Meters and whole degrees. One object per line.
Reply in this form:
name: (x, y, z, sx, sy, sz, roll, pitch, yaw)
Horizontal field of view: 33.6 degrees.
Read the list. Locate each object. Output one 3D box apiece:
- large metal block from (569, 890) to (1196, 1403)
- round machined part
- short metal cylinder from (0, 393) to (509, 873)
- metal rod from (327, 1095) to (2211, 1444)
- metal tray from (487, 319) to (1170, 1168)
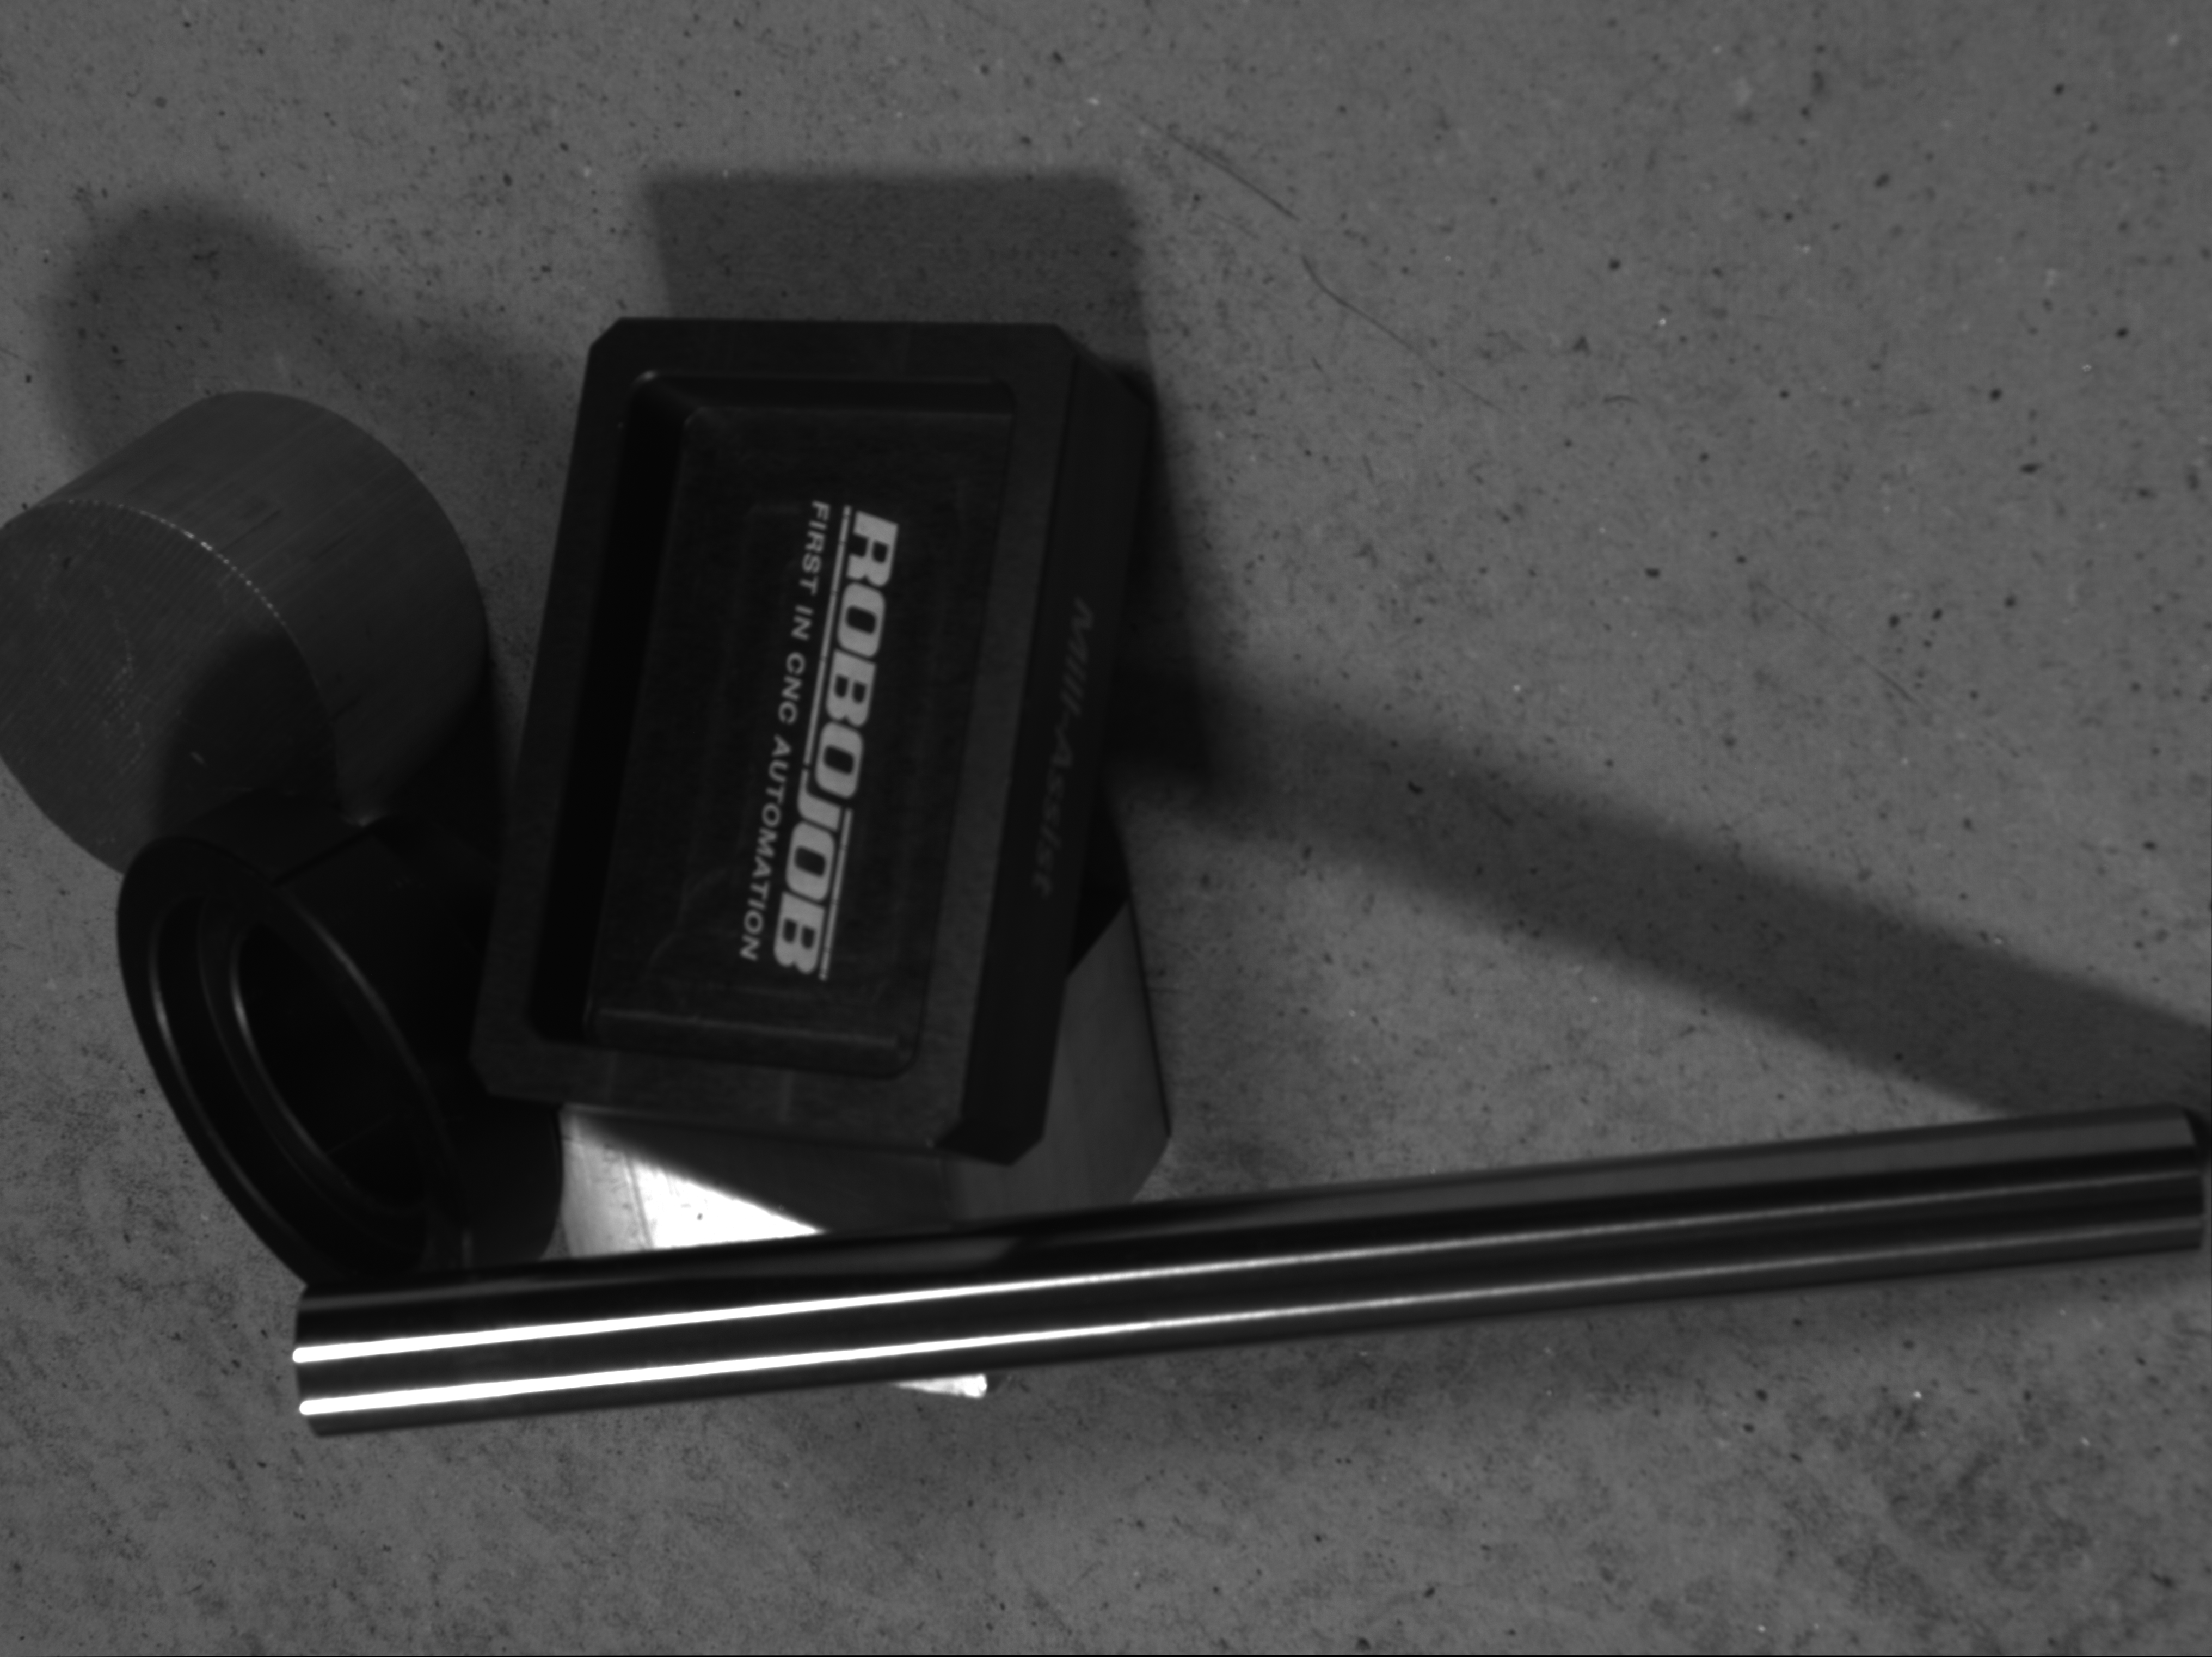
large metal block: (-0.039, 0.052, 0.647, 0.080, 0.080, 0.050, 4, 120, 24)
round machined part: (-0.125, 0.037, 0.649, 0.098, 0.042, 0.098, 29, 135, 34)
short metal cylinder: (-0.158, -0.033, 0.674, 0.080, 0.050, 0.080, 12, 123, 20)
metal rod: (0.026, 0.071, 0.586, 0.300, 0.025, 0.025, -6, 118, 3)
metal tray: (-0.045, -0.015, 0.593, 0.090, 0.030, 0.130, 4, 81, 25)
